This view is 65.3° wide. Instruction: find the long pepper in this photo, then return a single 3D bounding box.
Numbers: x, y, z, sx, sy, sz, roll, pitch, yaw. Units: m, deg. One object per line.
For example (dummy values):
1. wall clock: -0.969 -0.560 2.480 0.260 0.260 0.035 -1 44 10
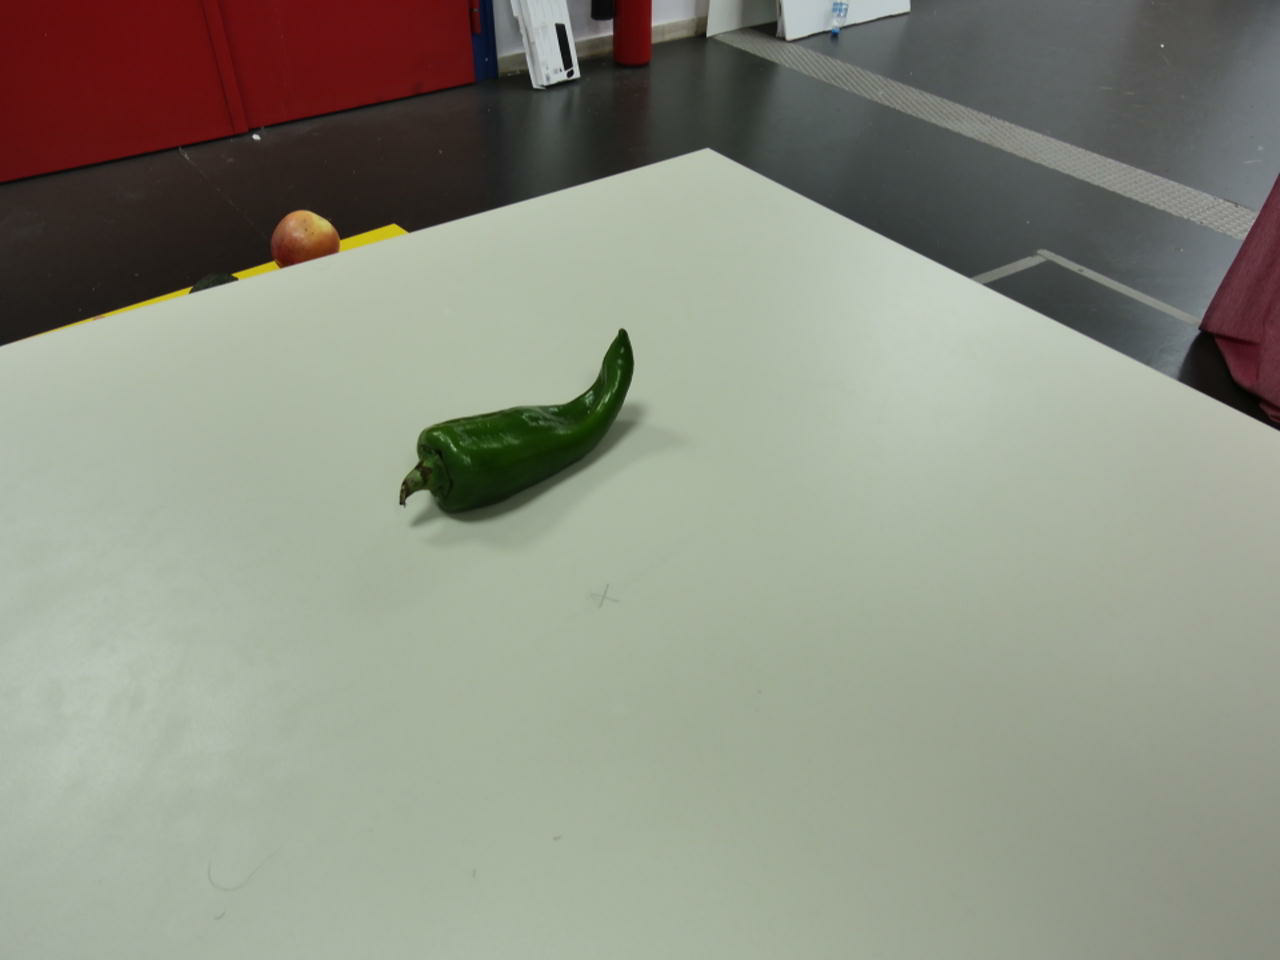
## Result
1. long pepper: -0.068 -0.032 0.597 0.175 0.065 0.058 -26 46 -30
